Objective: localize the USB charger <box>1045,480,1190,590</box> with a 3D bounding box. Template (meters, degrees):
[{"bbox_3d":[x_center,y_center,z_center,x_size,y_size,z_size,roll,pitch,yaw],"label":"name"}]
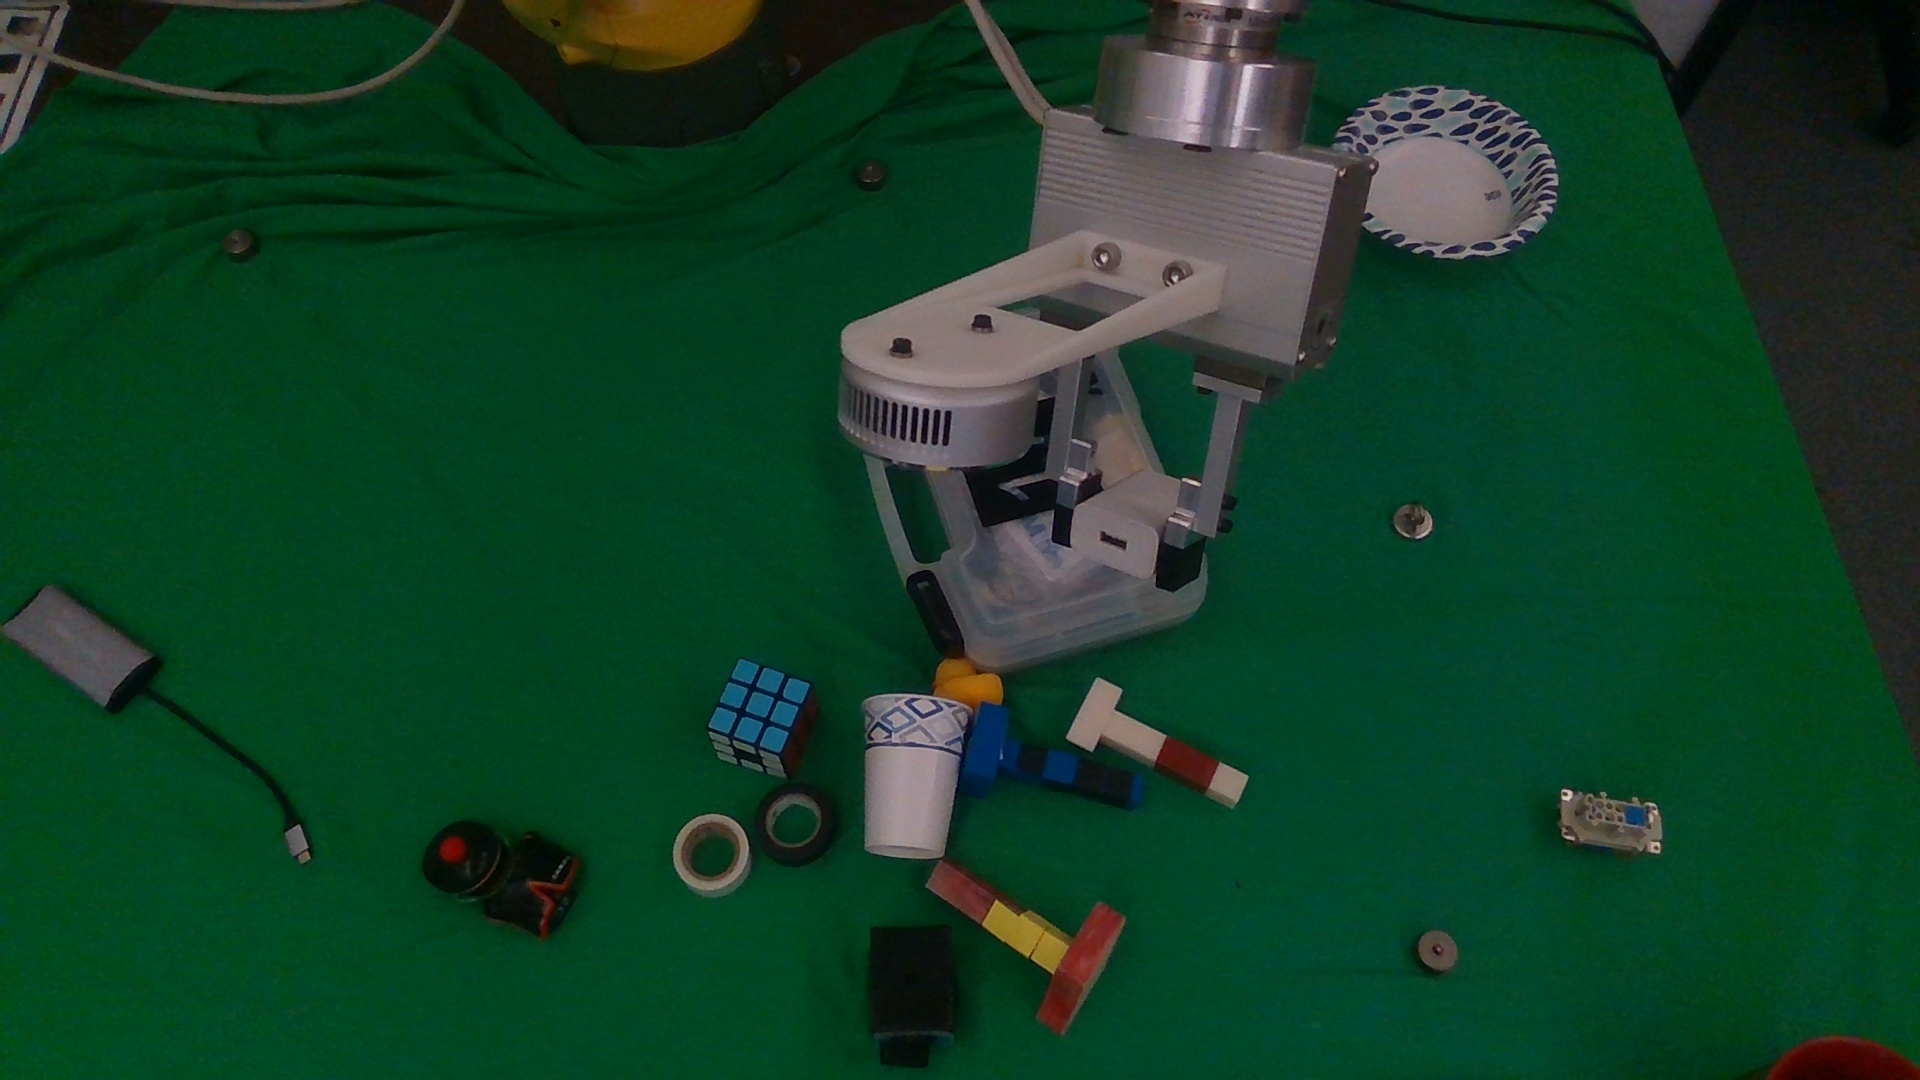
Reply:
[{"bbox_3d":[0.073,-0.006,0.592,0.045,0.029,0.075,21,28,28],"label":"USB charger"}]

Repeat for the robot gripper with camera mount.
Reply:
[{"bbox_3d":[0.035,-0.037,0.478,0.119,0.158,0.193,22,27,28],"label":"robot gripper with camera mount"}]
